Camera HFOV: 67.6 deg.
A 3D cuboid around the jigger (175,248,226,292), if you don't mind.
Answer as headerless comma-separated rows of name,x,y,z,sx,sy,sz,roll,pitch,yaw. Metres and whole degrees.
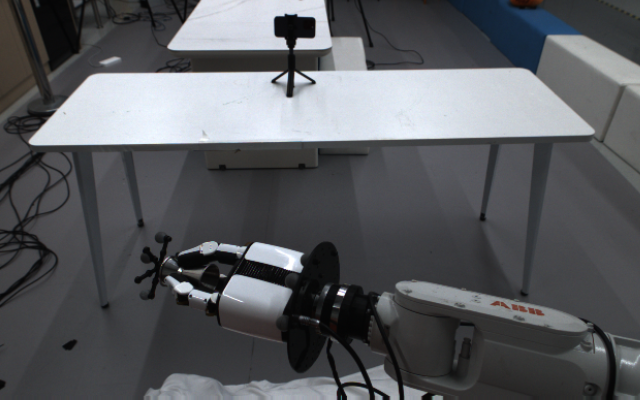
jigger,-0.171,0.100,0.652,0.071,0.043,0.043,10,35,22
